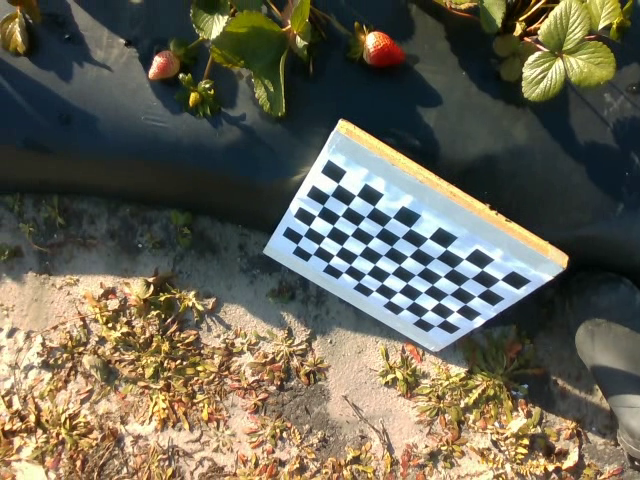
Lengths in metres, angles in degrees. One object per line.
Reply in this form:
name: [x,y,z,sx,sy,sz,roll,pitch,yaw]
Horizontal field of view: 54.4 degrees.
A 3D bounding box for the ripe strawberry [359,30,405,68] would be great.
ripe strawberry: [0.075,-0.216,0.701,0.063,0.044,0.045,18,-37,8]
